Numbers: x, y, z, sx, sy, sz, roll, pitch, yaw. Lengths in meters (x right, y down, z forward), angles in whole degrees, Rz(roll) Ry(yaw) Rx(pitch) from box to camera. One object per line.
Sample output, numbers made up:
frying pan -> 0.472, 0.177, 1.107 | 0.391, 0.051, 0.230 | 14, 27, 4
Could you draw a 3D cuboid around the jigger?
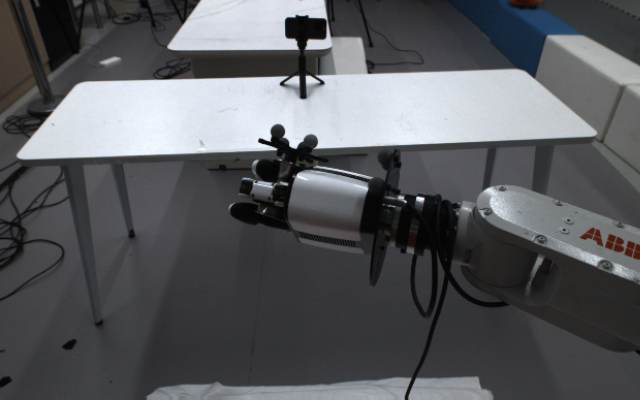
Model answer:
jigger -> -0.047, -0.011, 0.582 | 0.043, 0.071, 0.043 | 18, -6, 2
